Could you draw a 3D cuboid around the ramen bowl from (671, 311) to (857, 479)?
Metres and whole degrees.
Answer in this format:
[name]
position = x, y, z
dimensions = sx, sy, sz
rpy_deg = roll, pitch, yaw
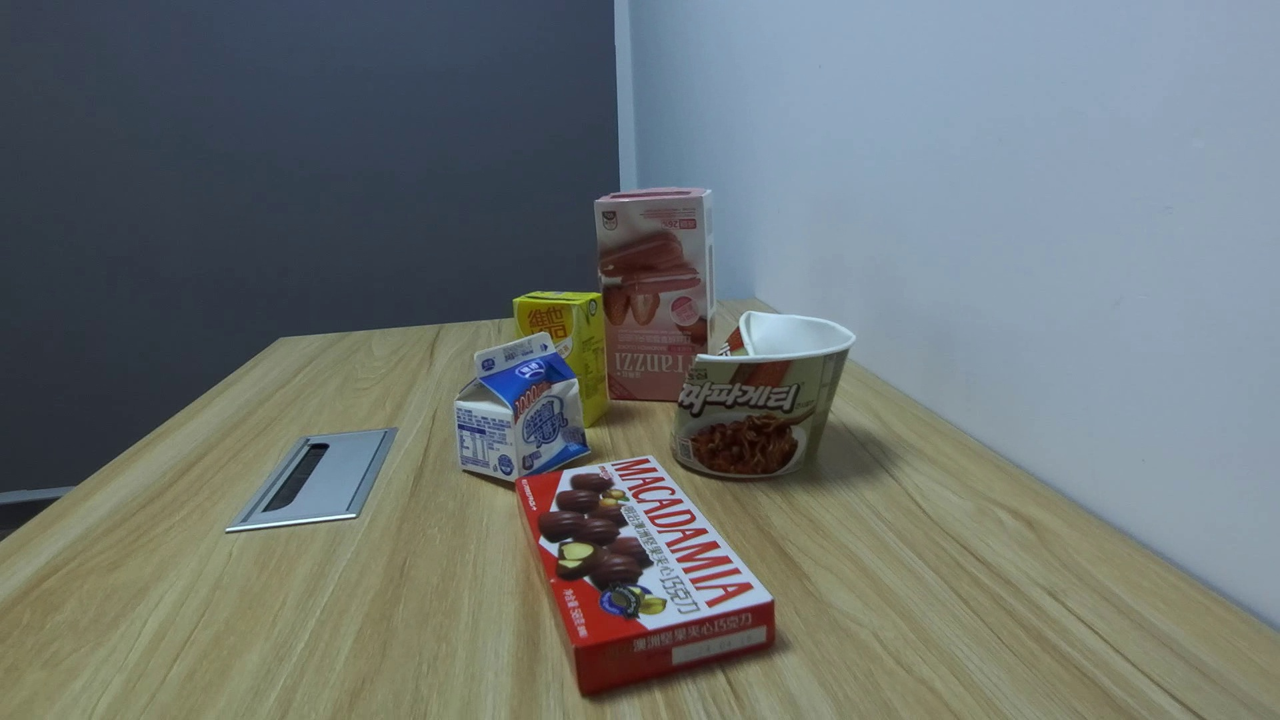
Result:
[ramen bowl]
position = 0.081, 0.025, 0.509
dimensions = 0.137, 0.098, 0.137
rpy_deg = -4, 20, 2

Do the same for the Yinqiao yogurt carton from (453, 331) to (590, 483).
[Yinqiao yogurt carton]
position = -0.087, 0.033, 0.519
dimensions = 0.070, 0.094, 0.078
rpy_deg = 5, 17, 42

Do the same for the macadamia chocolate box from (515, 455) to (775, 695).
[macadamia chocolate box]
position = -0.008, 0.104, 0.390
dimensions = 0.096, 0.027, 0.177
rpy_deg = -8, 17, -16

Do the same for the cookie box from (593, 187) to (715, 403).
[cookie box]
position = 0.014, -0.056, 0.631
dimensions = 0.105, 0.187, 0.049
rpy_deg = 1, 17, 16

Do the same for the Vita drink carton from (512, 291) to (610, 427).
[Vita drink carton]
position = -0.065, -0.002, 0.604
dimensions = 0.066, 0.109, 0.044
rpy_deg = 5, 19, 26
